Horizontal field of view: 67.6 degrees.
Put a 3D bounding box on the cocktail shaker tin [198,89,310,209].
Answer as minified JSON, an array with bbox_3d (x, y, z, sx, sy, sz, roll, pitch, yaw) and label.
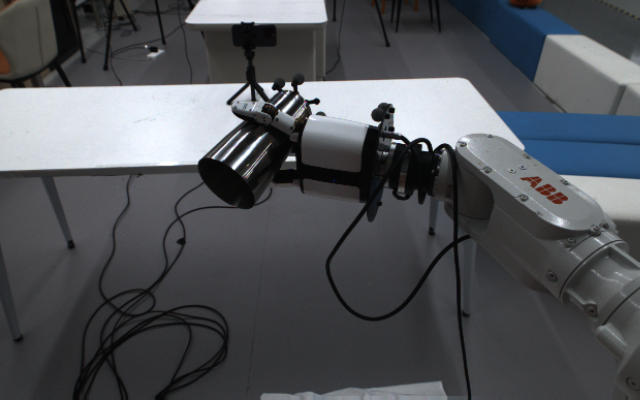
[{"bbox_3d":[-0.080,-0.083,0.676,0.093,0.093,0.170,19,55,23],"label":"cocktail shaker tin"}]
